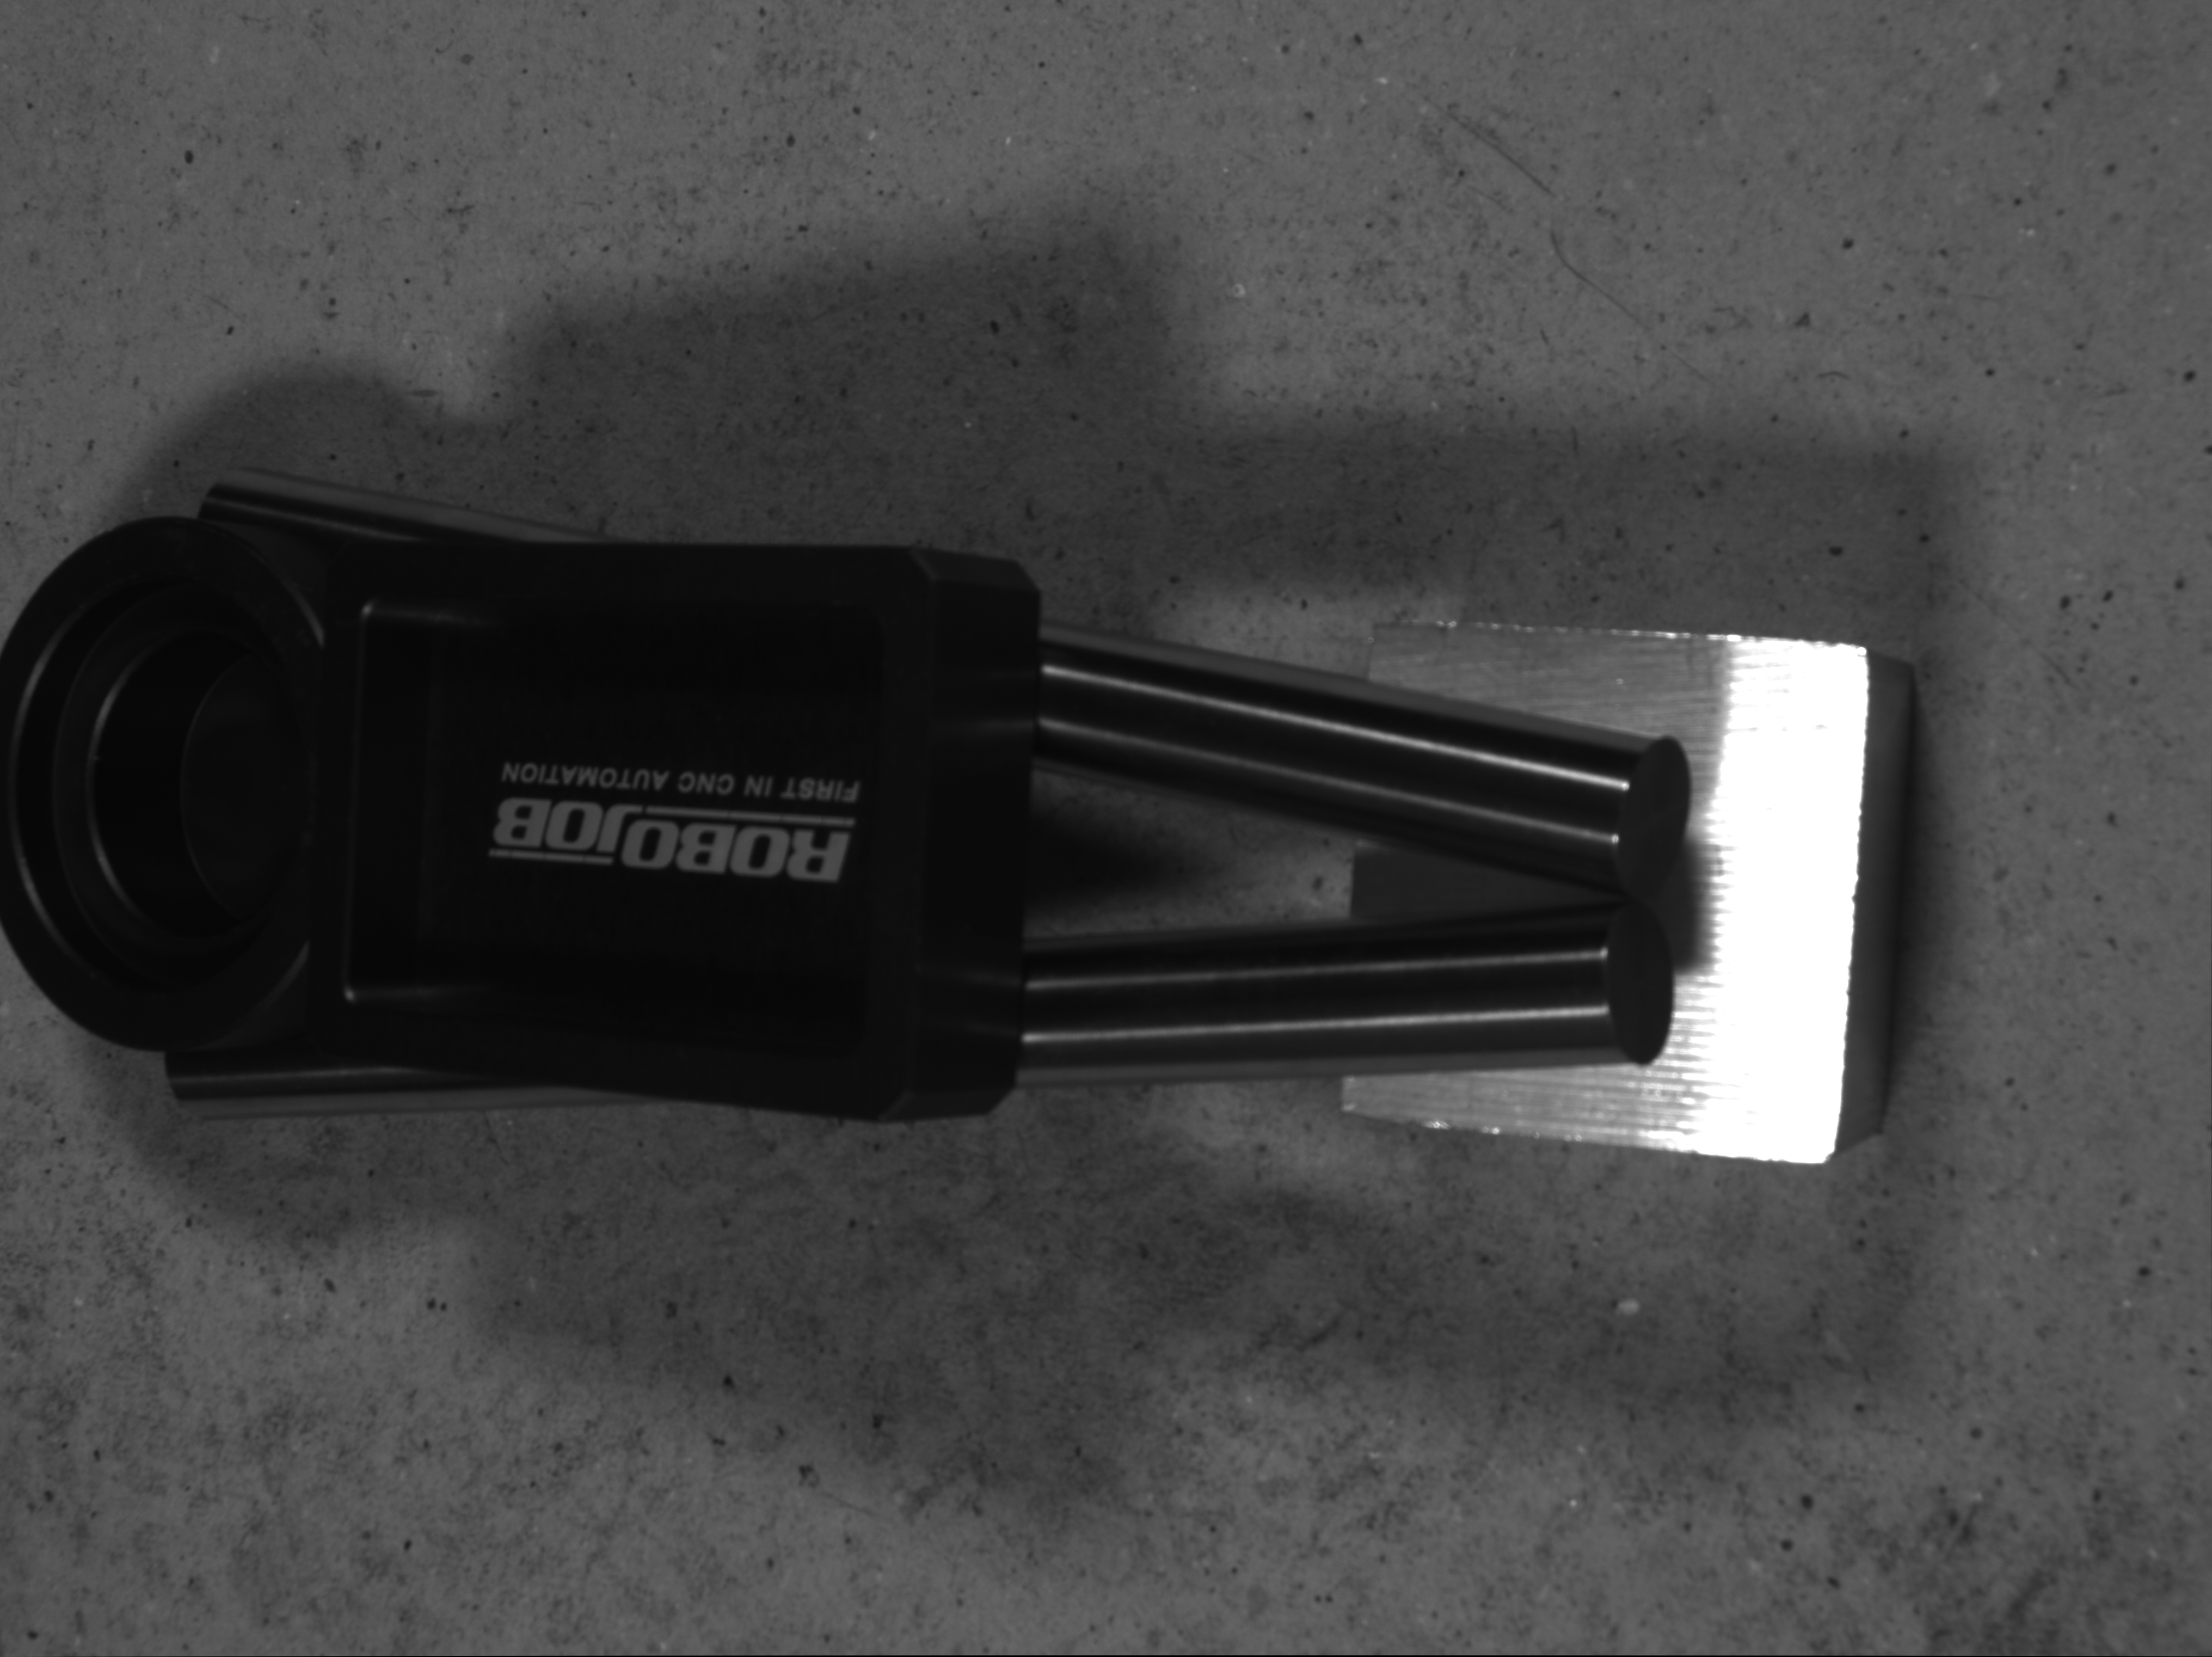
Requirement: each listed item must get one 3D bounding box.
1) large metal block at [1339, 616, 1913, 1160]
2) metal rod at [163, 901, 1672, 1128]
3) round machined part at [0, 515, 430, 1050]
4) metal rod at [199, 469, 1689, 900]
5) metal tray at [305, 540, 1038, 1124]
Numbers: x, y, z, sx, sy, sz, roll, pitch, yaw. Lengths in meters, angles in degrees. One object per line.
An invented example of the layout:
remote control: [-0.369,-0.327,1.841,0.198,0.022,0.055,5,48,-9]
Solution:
large metal block: [0.086,0.009,0.599,0.080,0.050,0.080,4,91,20]
metal rod: [-0.047,0.034,0.627,0.299,0.025,0.025,-5,88,32]
round machined part: [-0.163,-0.008,0.688,0.098,0.042,0.098,0,89,30]
metal rod: [-0.042,-0.029,0.625,0.299,0.025,0.025,13,94,32]
metal tray: [-0.075,-0.002,0.613,0.130,0.030,0.090,3,91,32]
